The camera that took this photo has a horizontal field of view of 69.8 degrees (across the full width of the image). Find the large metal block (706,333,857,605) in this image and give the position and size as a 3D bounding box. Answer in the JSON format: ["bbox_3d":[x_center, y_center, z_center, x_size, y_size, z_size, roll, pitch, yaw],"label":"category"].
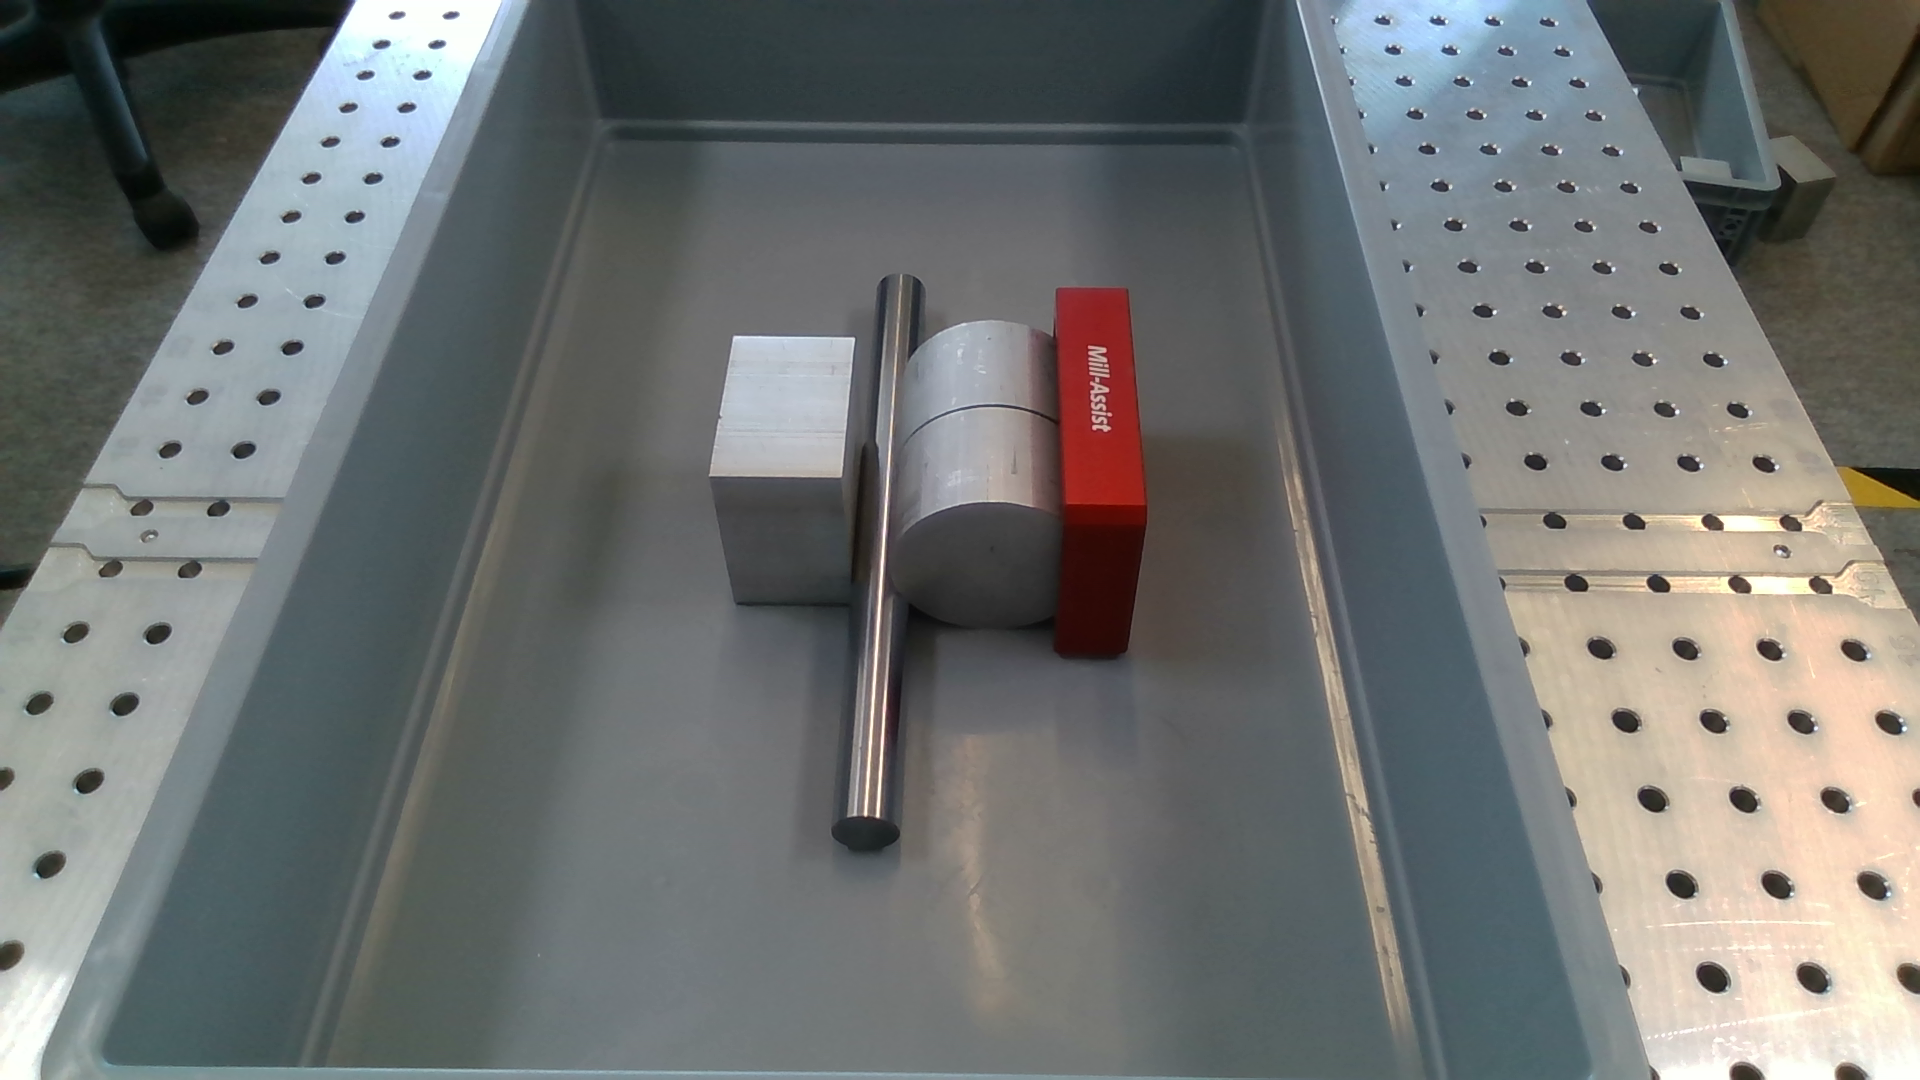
[{"bbox_3d":[-0.070,-0.029,0.573,0.050,0.080,0.080,1,50,0],"label":"large metal block"}]

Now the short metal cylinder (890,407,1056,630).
[{"bbox_3d":[0.013,-0.008,0.557,0.080,0.080,0.050,1,50,1],"label":"short metal cylinder"}]

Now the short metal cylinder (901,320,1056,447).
[{"bbox_3d":[0.014,-0.047,0.590,0.080,0.080,0.050,0,50,0],"label":"short metal cylinder"}]

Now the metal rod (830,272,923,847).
[{"bbox_3d":[-0.032,-0.010,0.593,0.025,0.025,0.299,1,50,1],"label":"metal rod"}]

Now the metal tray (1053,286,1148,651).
[{"bbox_3d":[0.054,-0.030,0.569,0.030,0.090,0.130,1,50,1],"label":"metal tray"}]
